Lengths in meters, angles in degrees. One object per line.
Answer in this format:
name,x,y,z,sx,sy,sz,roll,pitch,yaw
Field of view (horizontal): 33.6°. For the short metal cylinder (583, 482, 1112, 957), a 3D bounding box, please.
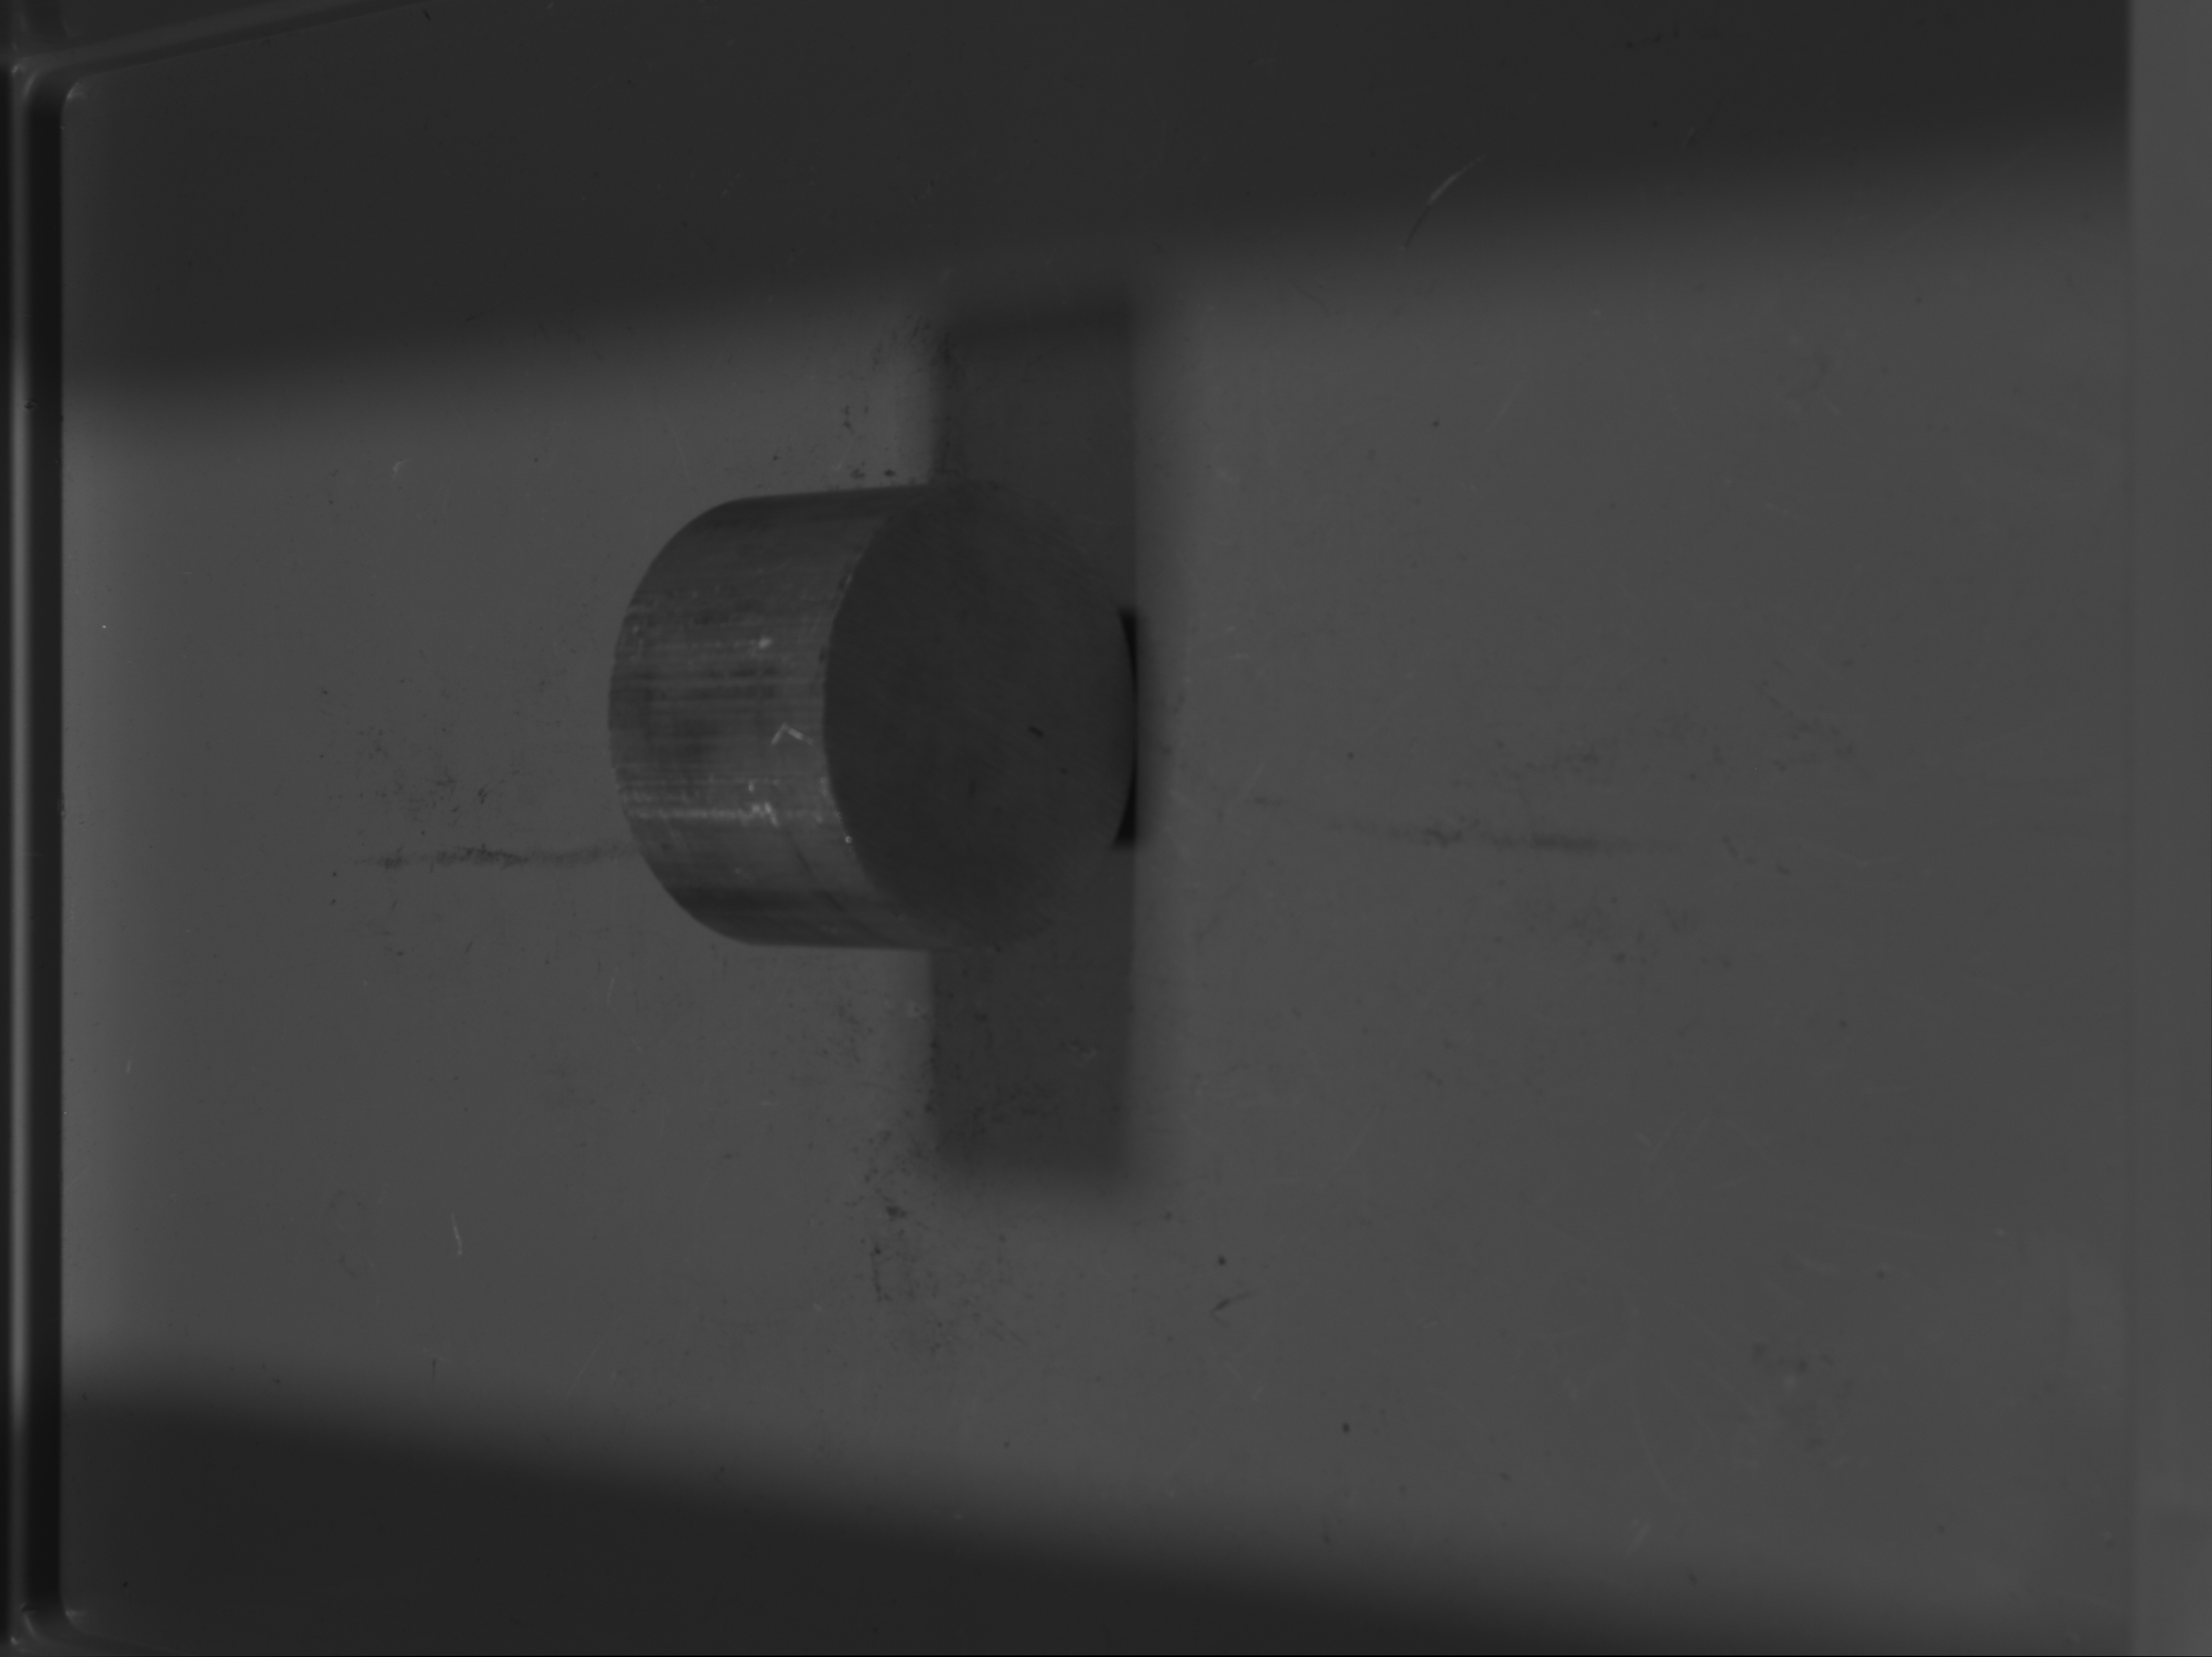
short metal cylinder,-0.044,-0.018,0.634,0.050,0.080,0.080,0,90,39
